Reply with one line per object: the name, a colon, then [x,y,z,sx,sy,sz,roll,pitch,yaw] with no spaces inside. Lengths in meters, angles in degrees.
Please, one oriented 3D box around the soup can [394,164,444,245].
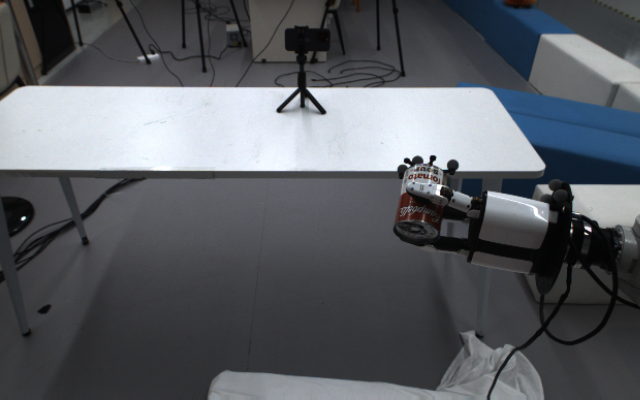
soup can: [0.151,0.003,0.720,0.067,0.067,0.101,9,61,10]
